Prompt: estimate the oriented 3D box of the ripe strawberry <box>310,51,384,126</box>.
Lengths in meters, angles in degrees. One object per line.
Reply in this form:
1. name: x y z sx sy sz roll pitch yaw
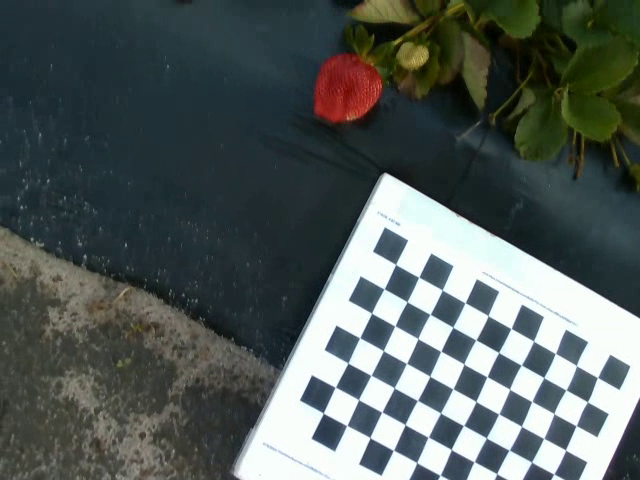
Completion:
1. ripe strawberry: 0.030 -0.133 0.457 0.067 0.075 0.039 32 -7 -4
